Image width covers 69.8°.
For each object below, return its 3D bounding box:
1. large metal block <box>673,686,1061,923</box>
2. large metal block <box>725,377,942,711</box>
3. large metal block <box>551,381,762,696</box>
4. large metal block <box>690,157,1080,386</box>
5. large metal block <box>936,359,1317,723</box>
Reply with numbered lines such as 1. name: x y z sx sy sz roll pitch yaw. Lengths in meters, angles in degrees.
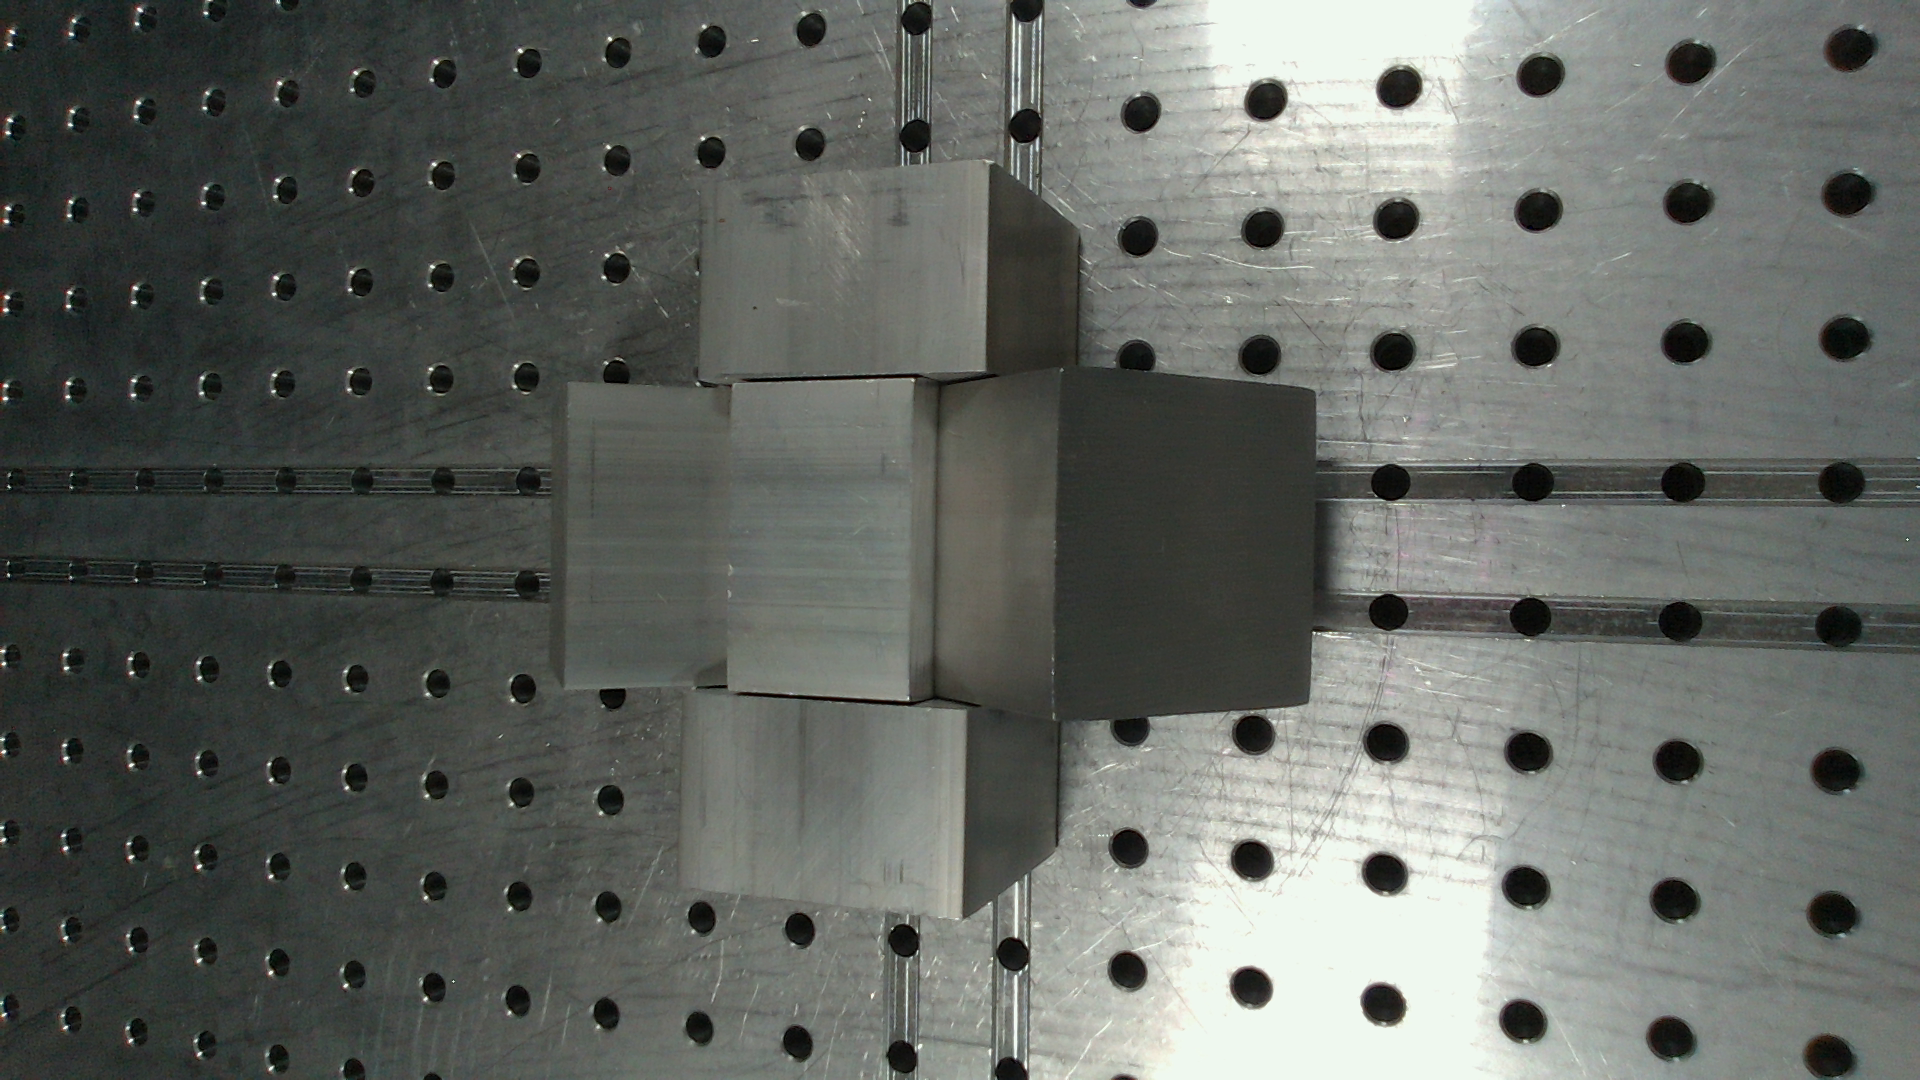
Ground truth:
1. large metal block: -0.022 0.065 0.376 0.080 0.080 0.050 1 90 20
2. large metal block: -0.021 0.001 0.376 0.050 0.080 0.080 1 90 20
3. large metal block: -0.089 -0.001 0.395 0.050 0.080 0.080 0 91 -19
4. large metal block: -0.017 -0.065 0.374 0.080 0.080 0.050 1 90 20
5. large metal block: 0.042 0.001 0.345 0.050 0.080 0.080 1 90 58
